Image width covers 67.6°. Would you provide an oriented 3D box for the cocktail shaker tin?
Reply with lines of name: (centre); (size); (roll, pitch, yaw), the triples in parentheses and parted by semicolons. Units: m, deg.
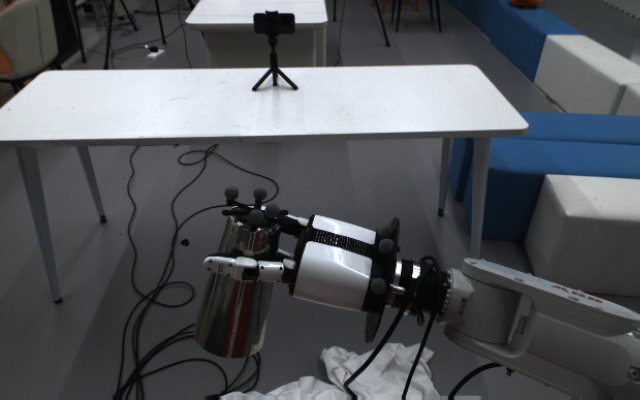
cocktail shaker tin: (-0.097, 0.099, 0.612); (0.093, 0.170, 0.093); (13, 18, -5)
